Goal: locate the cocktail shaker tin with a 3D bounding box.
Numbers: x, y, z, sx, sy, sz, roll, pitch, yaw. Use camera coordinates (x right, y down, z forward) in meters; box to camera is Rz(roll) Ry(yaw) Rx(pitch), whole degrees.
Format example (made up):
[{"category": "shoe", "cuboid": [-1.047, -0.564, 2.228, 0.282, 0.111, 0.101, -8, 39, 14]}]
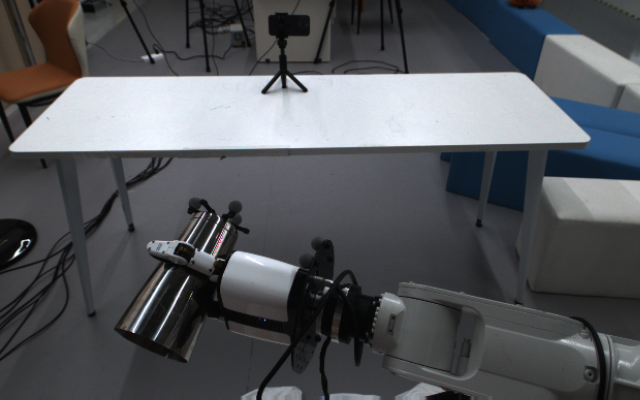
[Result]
[{"category": "cocktail shaker tin", "cuboid": [-0.168, 0.102, 0.599, 0.093, 0.093, 0.170, 13, 58, 16]}]
